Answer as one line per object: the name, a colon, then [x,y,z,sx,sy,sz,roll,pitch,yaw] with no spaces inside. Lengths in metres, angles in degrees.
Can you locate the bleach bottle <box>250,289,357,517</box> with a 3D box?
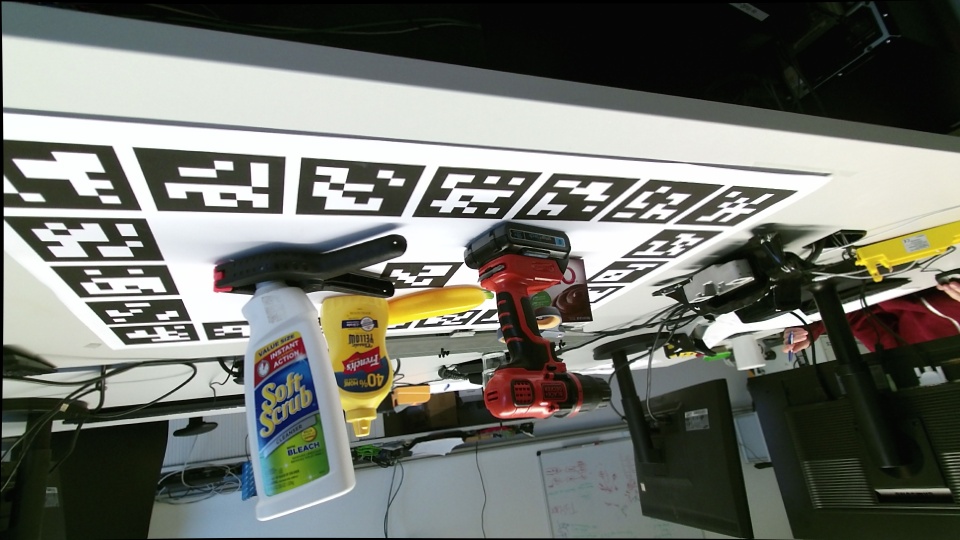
bleach bottle: [-0.205,0.121,0.578,0.103,0.249,0.068,-14,164,-7]

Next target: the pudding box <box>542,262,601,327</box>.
pudding box: [0.106,0.034,0.743,0.114,0.089,0.039,2,164,-25]

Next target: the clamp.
clamp: [-0.183,0.018,0.613,0.204,0.036,0.165,-2,156,-15]

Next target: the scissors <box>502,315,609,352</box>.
scissors: [0.121,0.096,0.730,0.203,0.016,0.088,18,143,-42]

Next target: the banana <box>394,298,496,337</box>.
banana: [-0.074,0.075,0.830,0.198,0.038,0.074,-15,175,15]

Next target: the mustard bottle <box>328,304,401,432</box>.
mustard bottle: [-0.160,0.130,0.755,0.096,0.190,0.058,7,154,-34]

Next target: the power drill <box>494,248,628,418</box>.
power drill: [0.092,0.073,0.622,0.185,0.186,0.057,2,164,-35]
